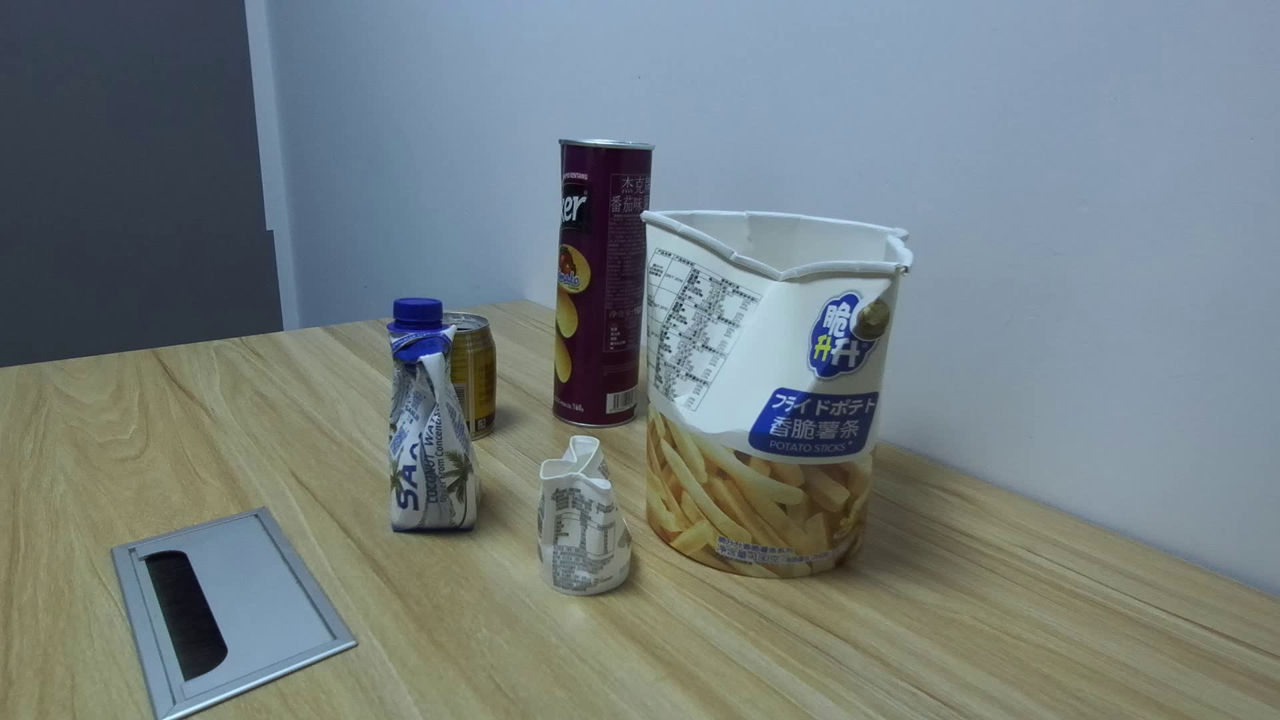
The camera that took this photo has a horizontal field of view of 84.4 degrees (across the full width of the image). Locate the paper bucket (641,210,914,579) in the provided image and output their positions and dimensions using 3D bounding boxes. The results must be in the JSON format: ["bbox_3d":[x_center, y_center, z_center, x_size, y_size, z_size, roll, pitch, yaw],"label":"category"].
[{"bbox_3d":[0.072,0.012,0.453,0.162,0.202,0.169,8,16,16],"label":"paper bucket"}]

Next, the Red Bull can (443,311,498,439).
[{"bbox_3d":[-0.155,0.014,0.584,0.068,0.093,0.068,3,17,-1],"label":"Red Bull can"}]

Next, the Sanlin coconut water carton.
[{"bbox_3d":[-0.136,0.037,0.435,0.057,0.145,0.068,-6,26,-6],"label":"Sanlin coconut water carton"}]

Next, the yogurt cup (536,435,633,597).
[{"bbox_3d":[-0.033,0.088,0.403,0.055,0.072,0.055,7,20,18],"label":"yogurt cup"}]

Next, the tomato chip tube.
[{"bbox_3d":[-0.034,-0.064,0.604,0.077,0.234,0.080,1,18,-7],"label":"tomato chip tube"}]
